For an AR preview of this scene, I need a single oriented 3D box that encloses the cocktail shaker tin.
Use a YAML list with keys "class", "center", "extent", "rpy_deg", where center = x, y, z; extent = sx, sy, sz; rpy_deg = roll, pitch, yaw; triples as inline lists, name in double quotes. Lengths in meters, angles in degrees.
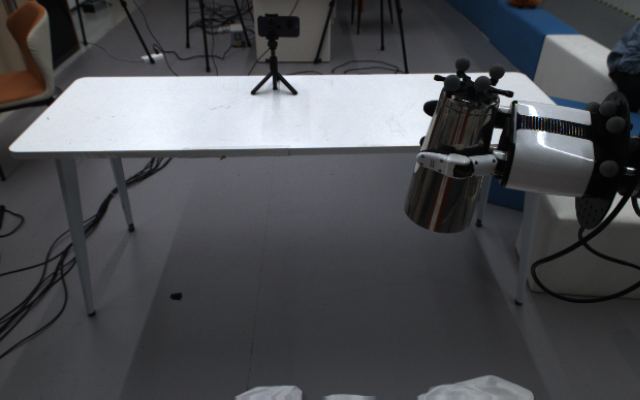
- class: "cocktail shaker tin"
  center: [0.168, -0.055, 0.602]
  extent: [0.093, 0.170, 0.093]
  rpy_deg: [4, 36, -3]
